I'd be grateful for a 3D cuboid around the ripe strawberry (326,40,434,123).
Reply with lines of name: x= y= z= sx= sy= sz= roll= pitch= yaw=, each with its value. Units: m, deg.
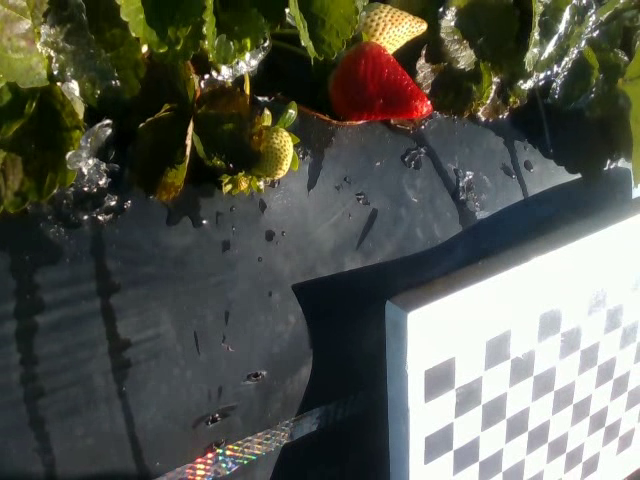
ripe strawberry: x=0.029 y=-0.068 z=0.285 sx=0.053 sy=0.040 sz=0.042 roll=33 pitch=-12 yaw=23
